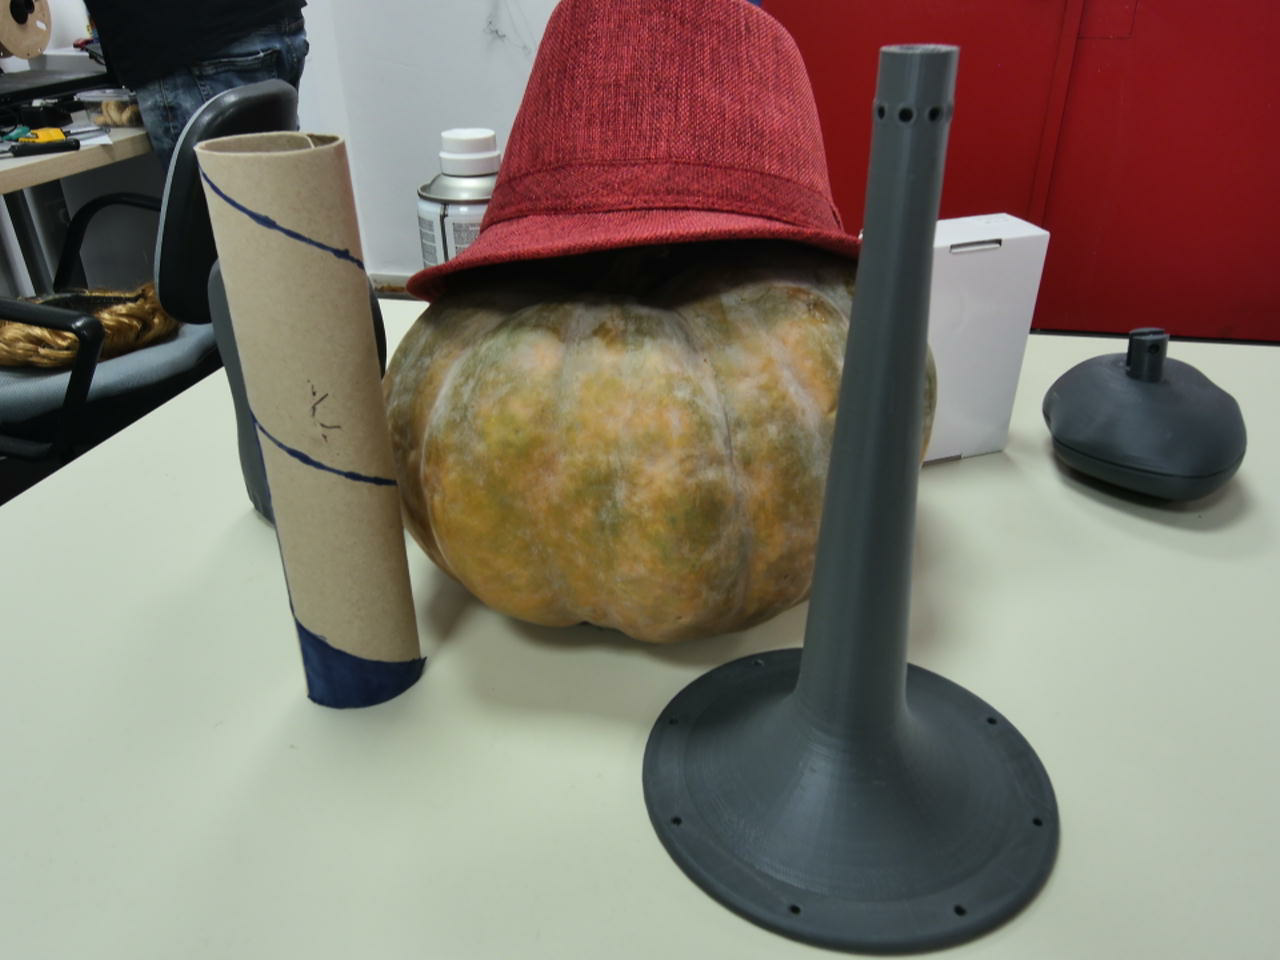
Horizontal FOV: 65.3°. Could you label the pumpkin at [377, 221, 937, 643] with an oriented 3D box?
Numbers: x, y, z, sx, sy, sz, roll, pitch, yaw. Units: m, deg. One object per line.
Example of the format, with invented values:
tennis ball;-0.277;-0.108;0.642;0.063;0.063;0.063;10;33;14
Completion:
pumpkin;0.001;-0.030;0.469;0.252;0.169;0.251;0;25;0
